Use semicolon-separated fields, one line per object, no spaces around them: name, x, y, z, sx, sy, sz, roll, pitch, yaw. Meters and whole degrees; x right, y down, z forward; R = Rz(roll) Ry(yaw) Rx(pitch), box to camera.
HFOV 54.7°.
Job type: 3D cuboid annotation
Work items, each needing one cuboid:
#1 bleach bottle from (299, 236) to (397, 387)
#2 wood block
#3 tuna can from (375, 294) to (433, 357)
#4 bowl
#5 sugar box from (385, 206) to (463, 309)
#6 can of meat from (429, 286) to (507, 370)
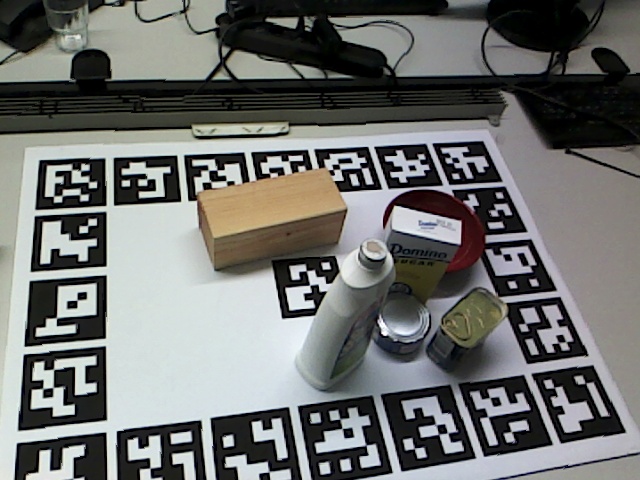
bleach bottle;0.036;0.087;0.766;0.102;0.250;0.068;-28;61;-26
wood block;-0.071;-0.029;0.943;0.205;0.090;0.091;-12;60;-19
tuna can;0.115;0.123;0.884;0.085;0.033;0.086;4;55;-6
bowl;0.187;-0.004;0.983;0.161;0.055;0.162;2;53;-3
sugar box;0.134;0.030;0.868;0.093;0.176;0.045;11;54;3
can of meat;0.205;0.126;0.873;0.101;0.083;0.058;-32;61;-30
